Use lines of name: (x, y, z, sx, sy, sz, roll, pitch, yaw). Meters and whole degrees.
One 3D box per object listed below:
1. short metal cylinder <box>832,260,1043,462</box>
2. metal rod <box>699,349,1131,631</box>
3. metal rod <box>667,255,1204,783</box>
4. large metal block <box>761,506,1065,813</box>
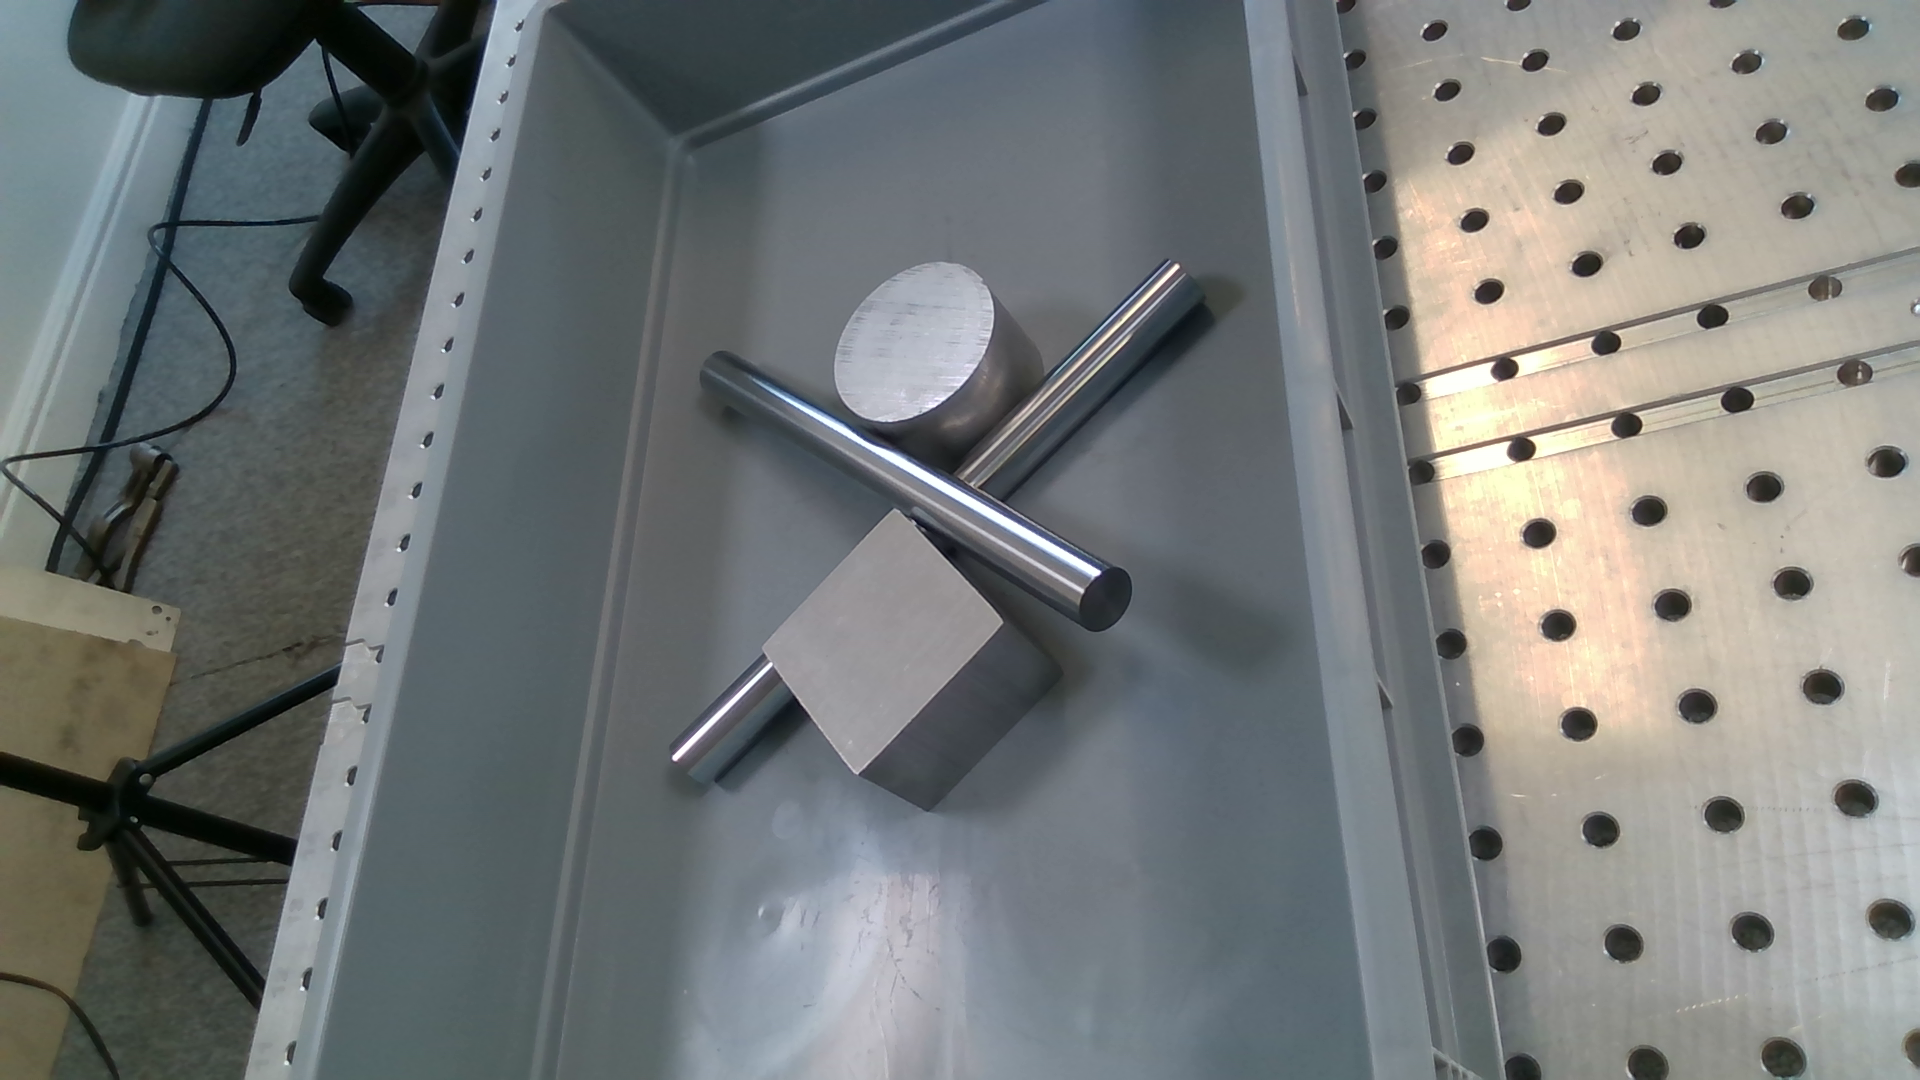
short metal cylinder: (-0.010, -0.077, 0.615, 0.080, 0.050, 0.080, -14, 59, 25)
metal rod: (-0.036, -0.033, 0.596, 0.025, 0.025, 0.299, -54, 43, -4)
metal rod: (-0.012, -0.007, 0.595, 0.300, 0.025, 0.025, -44, 51, 4)
large metal block: (-0.020, 0.048, 0.554, 0.080, 0.050, 0.080, -47, 51, 2)
